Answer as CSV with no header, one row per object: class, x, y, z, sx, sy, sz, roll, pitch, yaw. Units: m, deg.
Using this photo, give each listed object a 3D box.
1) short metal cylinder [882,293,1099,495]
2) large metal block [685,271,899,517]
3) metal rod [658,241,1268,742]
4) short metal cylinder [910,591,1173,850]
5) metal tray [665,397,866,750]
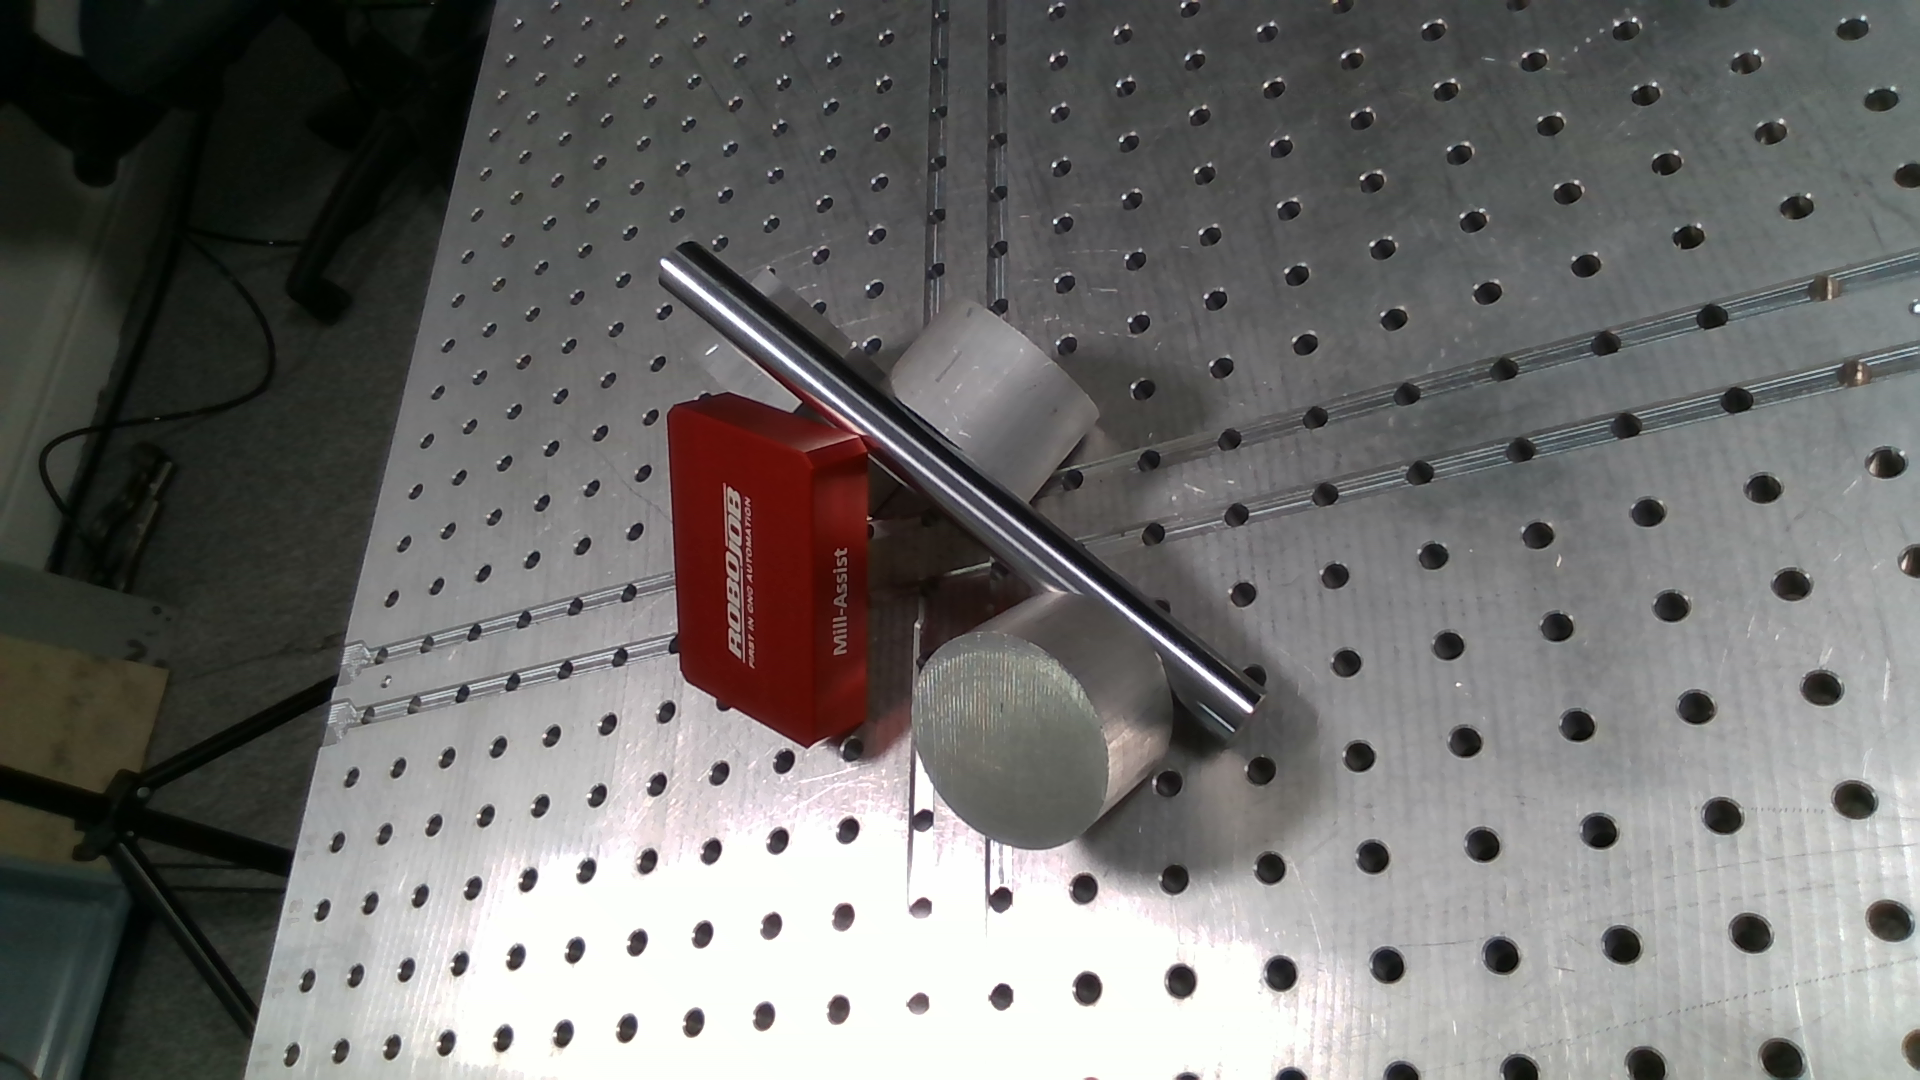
short metal cylinder,0.011,-0.057,0.576,0.050,0.080,0.080,-51,51,-1
large metal block,-0.066,-0.065,0.628,0.050,0.080,0.080,-48,51,1
metal rod,-0.008,-0.027,0.538,0.300,0.025,0.025,39,89,18
short metal cylinder,0.029,0.064,0.495,0.080,0.050,0.080,11,111,32
metal tray,-0.081,0.012,0.578,0.090,0.030,0.130,21,119,37
